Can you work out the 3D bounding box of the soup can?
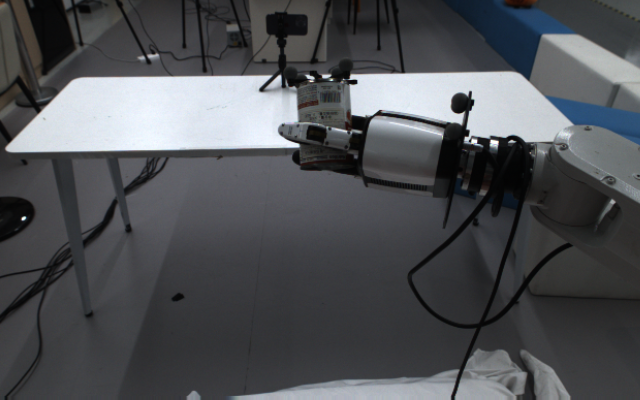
[{"bbox_3d":[0.008,-0.089,0.589,0.067,0.101,0.067,-3,-1,0],"label":"soup can"}]
